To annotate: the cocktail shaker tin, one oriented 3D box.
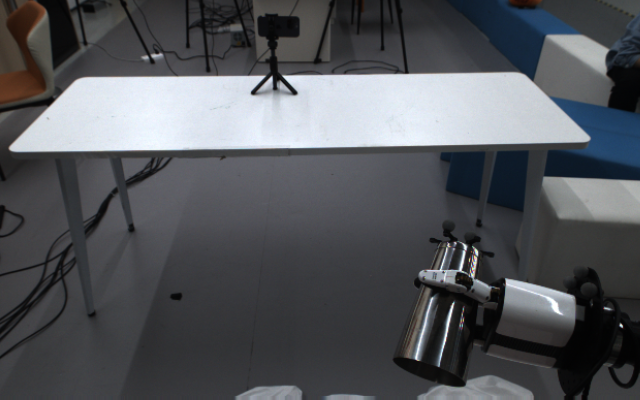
[{"bbox_3d":[0.164,0.141,0.631,0.093,0.093,0.170,15,61,18],"label":"cocktail shaker tin"}]
